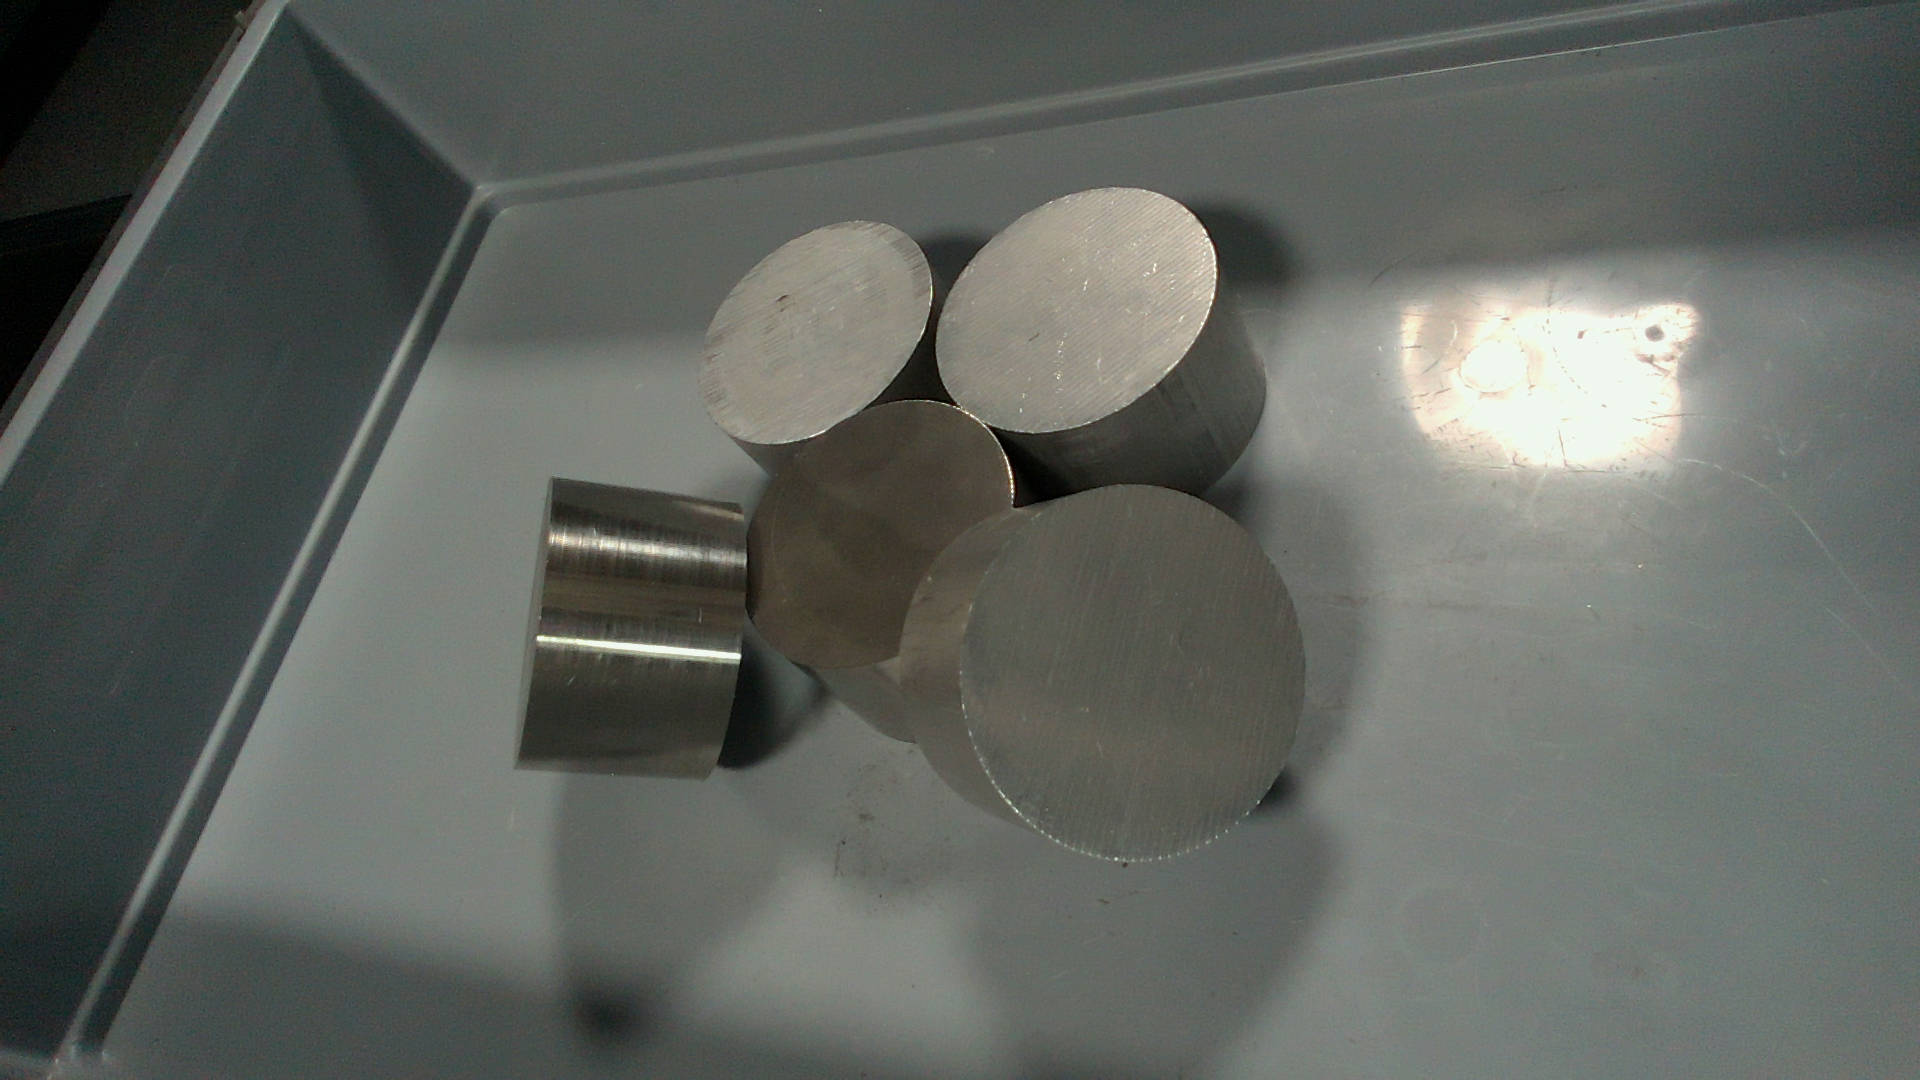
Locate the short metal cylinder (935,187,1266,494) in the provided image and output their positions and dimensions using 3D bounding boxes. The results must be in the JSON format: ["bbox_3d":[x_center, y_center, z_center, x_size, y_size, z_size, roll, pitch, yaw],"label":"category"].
[{"bbox_3d":[0.040,-0.051,0.386,0.080,0.050,0.080,-14,56,21],"label":"short metal cylinder"}]

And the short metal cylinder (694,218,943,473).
[{"bbox_3d":[-0.034,-0.052,0.425,0.080,0.050,0.080,-14,56,21],"label":"short metal cylinder"}]

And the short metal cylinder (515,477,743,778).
[{"bbox_3d":[-0.094,0.025,0.385,0.050,0.080,0.080,7,54,-18],"label":"short metal cylinder"}]

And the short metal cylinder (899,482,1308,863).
[{"bbox_3d":[0.031,0.029,0.314,0.080,0.080,0.050,-58,13,-13],"label":"short metal cylinder"}]

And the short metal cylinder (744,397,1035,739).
[{"bbox_3d":[-0.013,0.008,0.376,0.080,0.050,0.080,-14,56,21],"label":"short metal cylinder"}]
